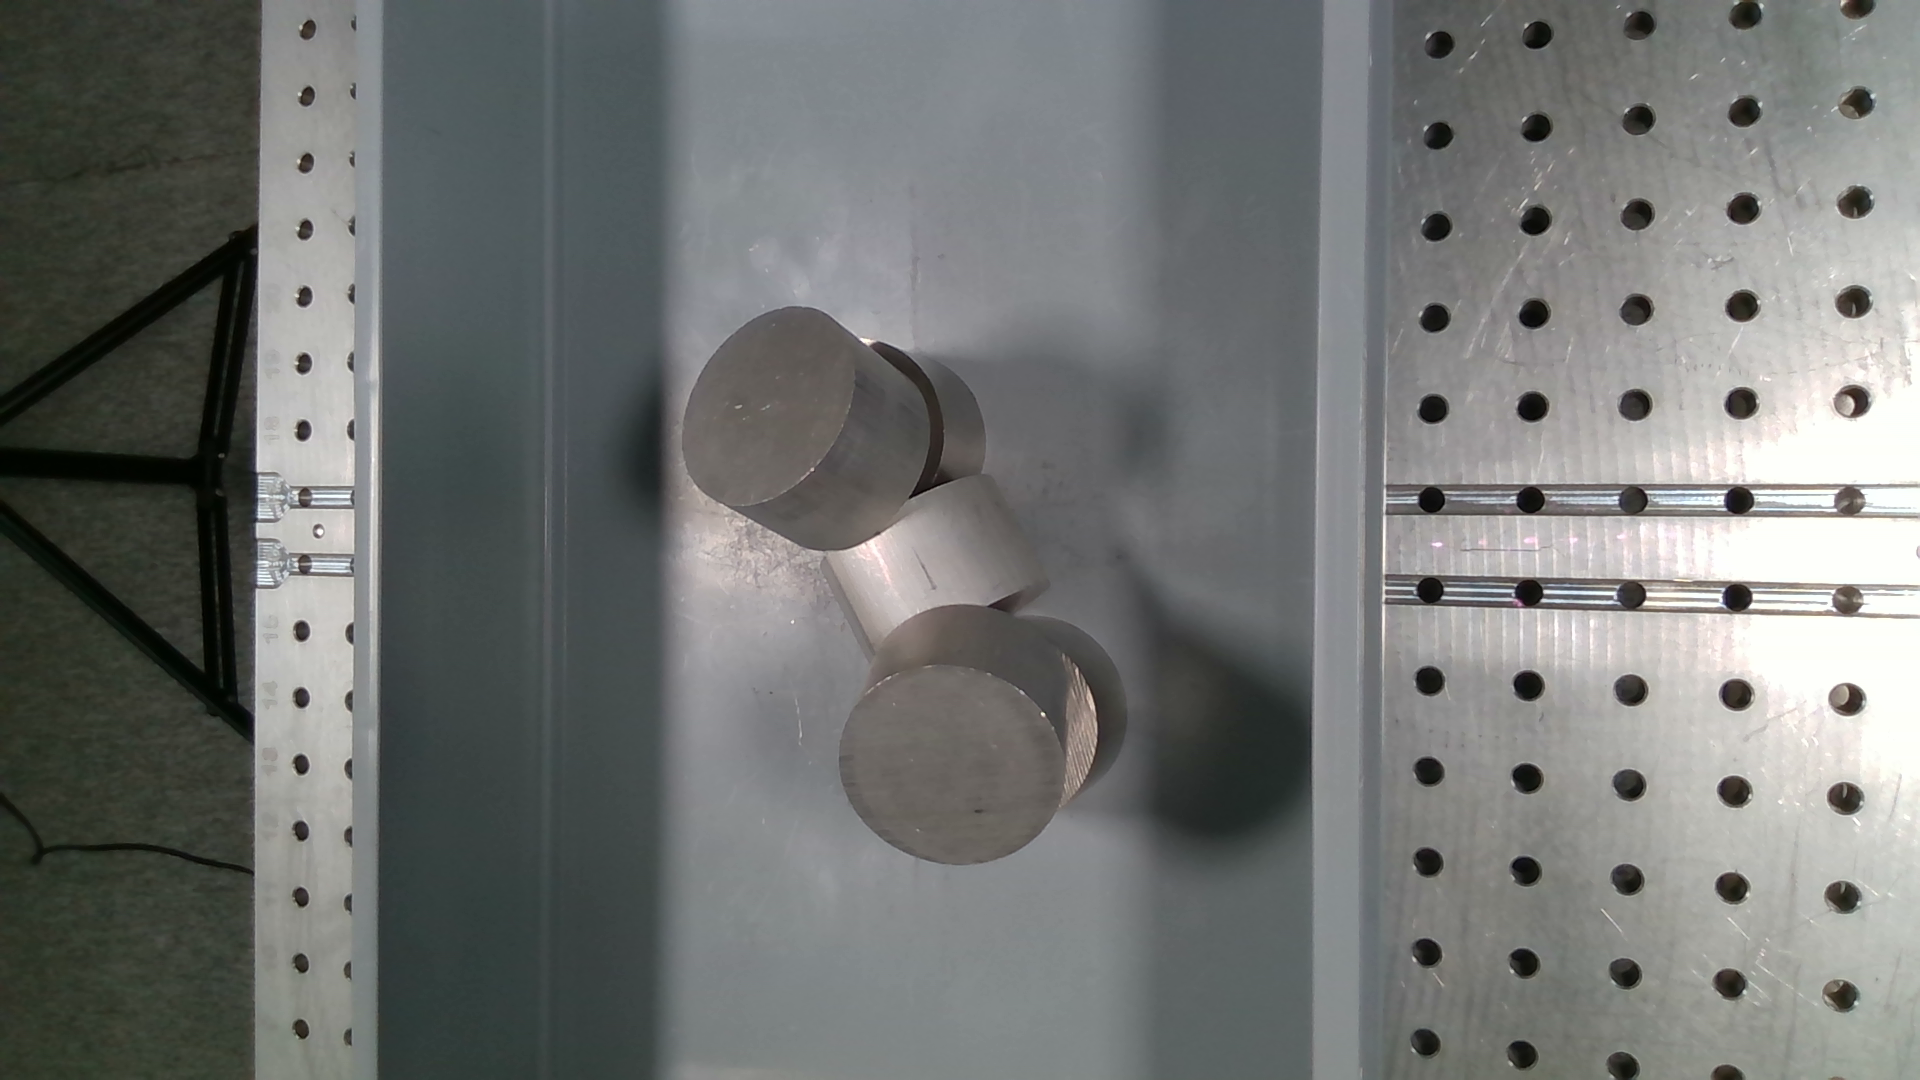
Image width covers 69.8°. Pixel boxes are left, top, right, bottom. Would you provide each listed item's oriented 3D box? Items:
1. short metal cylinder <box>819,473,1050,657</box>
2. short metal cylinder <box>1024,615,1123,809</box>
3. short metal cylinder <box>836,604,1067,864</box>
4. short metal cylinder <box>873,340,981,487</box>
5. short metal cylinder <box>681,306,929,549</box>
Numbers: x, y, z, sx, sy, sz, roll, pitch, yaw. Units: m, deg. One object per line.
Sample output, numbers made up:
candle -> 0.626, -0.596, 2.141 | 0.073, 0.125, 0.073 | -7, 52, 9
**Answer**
short metal cylinder -> -0.011, 0.015, 0.559 | 0.080, 0.080, 0.050 | -31, 80, 18
short metal cylinder -> 0.023, 0.072, 0.563 | 0.080, 0.050, 0.080 | 0, 90, 20
short metal cylinder -> -0.001, 0.070, 0.503 | 0.080, 0.050, 0.080 | 3, 112, 7
short metal cylinder -> -0.036, -0.042, 0.584 | 0.080, 0.050, 0.080 | 0, 90, 20
short metal cylinder -> -0.059, -0.041, 0.524 | 0.080, 0.050, 0.080 | -13, 64, 29
